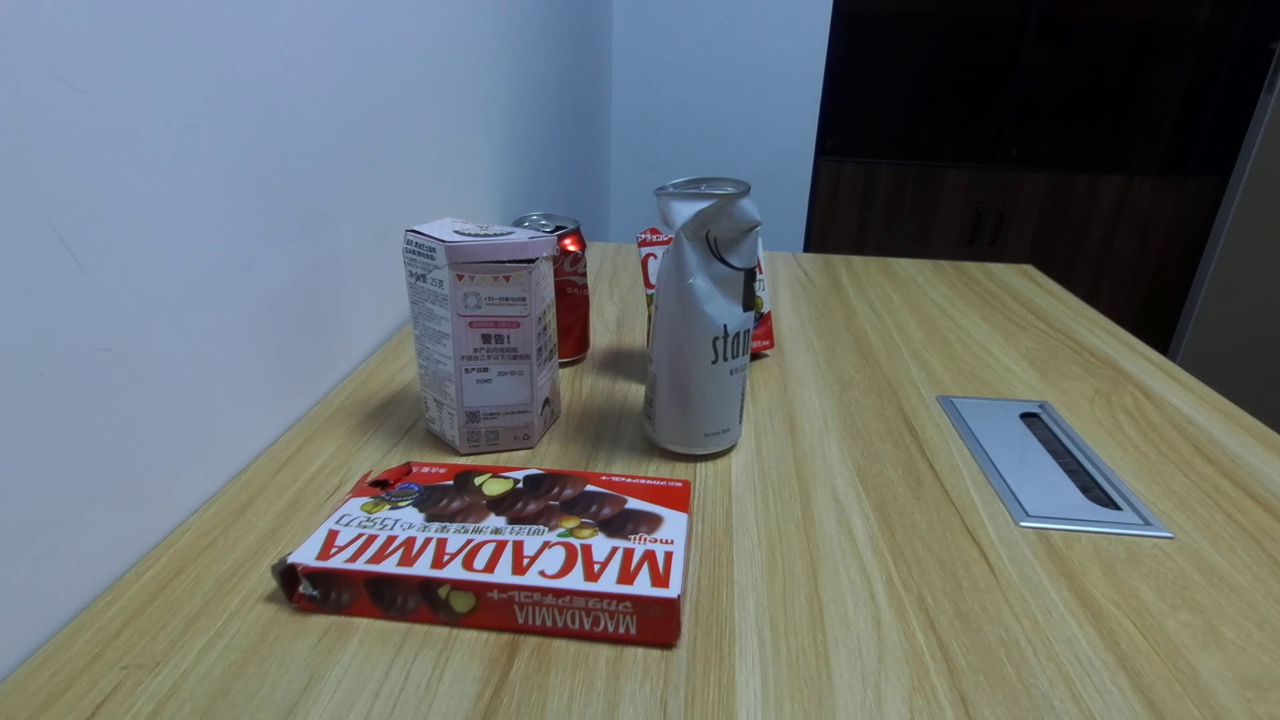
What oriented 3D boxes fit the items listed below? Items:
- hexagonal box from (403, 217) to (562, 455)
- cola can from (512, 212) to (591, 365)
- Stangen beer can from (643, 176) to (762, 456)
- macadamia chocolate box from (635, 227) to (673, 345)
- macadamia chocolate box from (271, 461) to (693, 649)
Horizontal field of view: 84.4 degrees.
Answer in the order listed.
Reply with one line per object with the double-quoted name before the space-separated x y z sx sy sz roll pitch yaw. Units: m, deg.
"hexagonal box" -0.097 -0.018 0.450 0.092 0.135 0.085 -4 24 -11
"cola can" -0.072 -0.057 0.567 0.066 0.112 0.069 -6 27 -13
"Stangen beer can" 0.035 -0.024 0.432 0.066 0.166 0.065 -11 27 -22
"macadamia chocolate box" 0.050 -0.050 0.561 0.127 0.112 0.056 -14 29 -28
"macadamia chocolate box" -0.068 0.087 0.349 0.186 0.027 0.102 4 22 5
